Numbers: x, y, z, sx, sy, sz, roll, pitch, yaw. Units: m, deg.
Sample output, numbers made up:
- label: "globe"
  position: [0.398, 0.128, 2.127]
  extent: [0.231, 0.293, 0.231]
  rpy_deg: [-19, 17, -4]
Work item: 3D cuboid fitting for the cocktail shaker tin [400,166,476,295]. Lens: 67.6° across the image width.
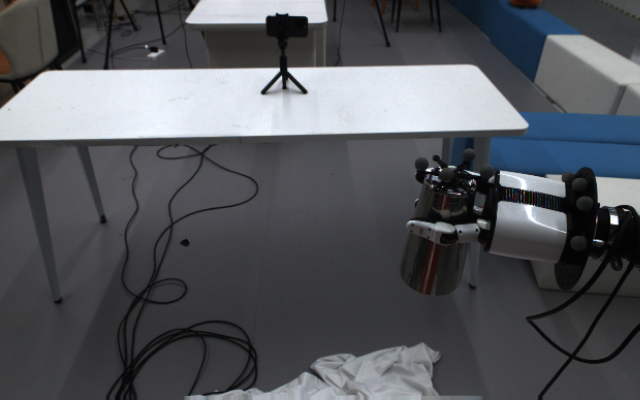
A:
- label: "cocktail shaker tin"
  position: [0.170, 0.037, 0.673]
  extent: [0.093, 0.170, 0.093]
  rpy_deg: [1, 39, -1]
